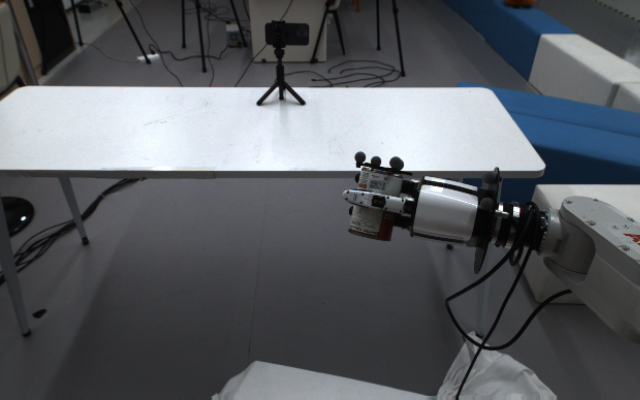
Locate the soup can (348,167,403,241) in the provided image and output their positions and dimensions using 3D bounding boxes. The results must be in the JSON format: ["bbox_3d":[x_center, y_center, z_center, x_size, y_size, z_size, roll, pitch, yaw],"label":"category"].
[{"bbox_3d":[0.086,0.006,0.743,0.067,0.101,0.067,12,2,0],"label":"soup can"}]
